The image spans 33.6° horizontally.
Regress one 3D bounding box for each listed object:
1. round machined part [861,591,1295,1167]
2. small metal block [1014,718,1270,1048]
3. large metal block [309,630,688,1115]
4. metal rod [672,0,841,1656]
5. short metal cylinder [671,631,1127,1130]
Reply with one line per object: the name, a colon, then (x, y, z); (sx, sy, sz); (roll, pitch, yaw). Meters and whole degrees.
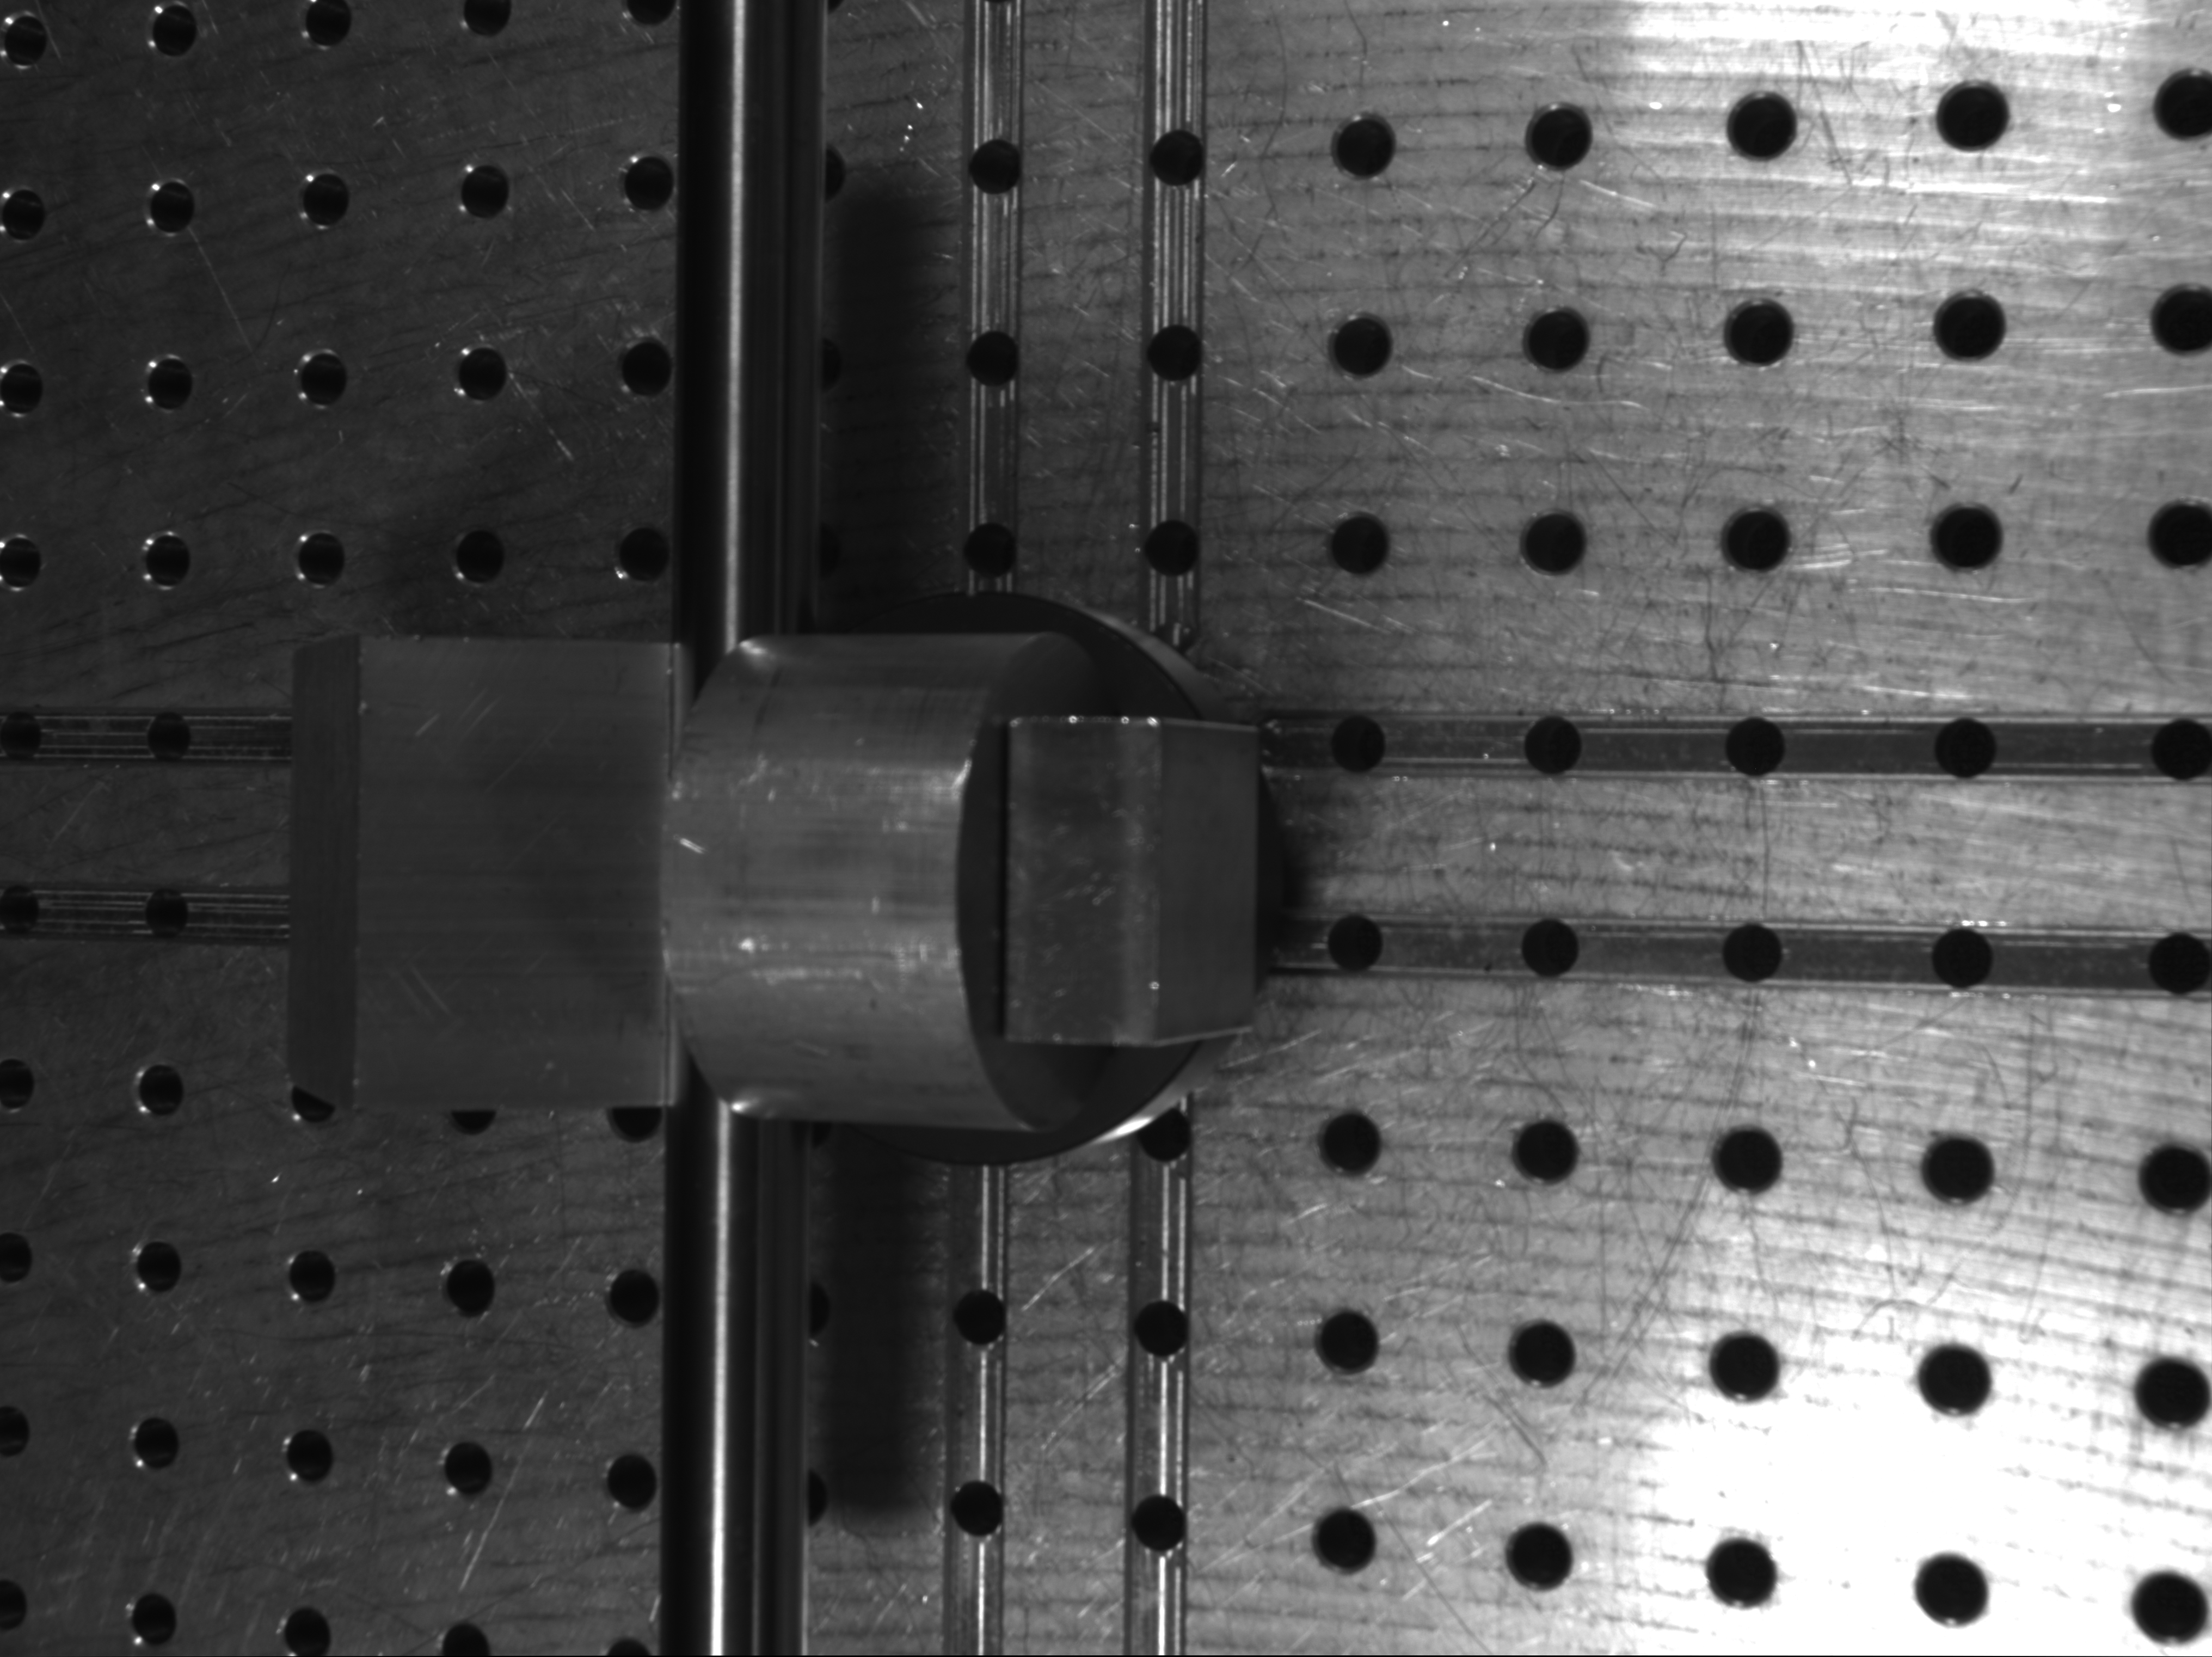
round machined part: (-0.014, 0.009, 0.641); (0.098, 0.042, 0.098); (0, 90, 20)
small metal block: (0.006, 0.008, 0.586); (0.025, 0.050, 0.050); (1, 90, 20)
large metal block: (-0.109, 0.007, 0.650); (0.050, 0.080, 0.080); (1, 90, -21)
metal rod: (-0.060, 0.000, 0.624); (0.025, 0.025, 0.300); (1, 90, 20)
short metal cylinder: (-0.030, 0.008, 0.596); (0.050, 0.080, 0.080); (1, 90, 20)
